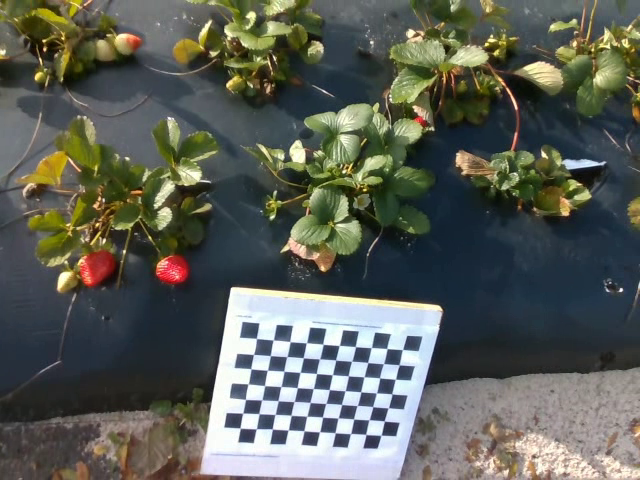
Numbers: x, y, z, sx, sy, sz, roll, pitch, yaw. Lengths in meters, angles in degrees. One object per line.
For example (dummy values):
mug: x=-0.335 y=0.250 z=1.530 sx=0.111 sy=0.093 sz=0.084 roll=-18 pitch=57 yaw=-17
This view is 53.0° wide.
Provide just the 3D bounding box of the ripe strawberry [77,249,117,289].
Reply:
ripe strawberry: x=-0.206 y=0.028 z=0.574 sx=0.035 sy=0.041 sz=0.036 roll=-6 pitch=44 yaw=0

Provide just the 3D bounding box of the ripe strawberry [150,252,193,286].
ripe strawberry: x=-0.138 y=0.031 z=0.587 sx=0.033 sy=0.038 sz=0.039 roll=9 pitch=30 yaw=-30
